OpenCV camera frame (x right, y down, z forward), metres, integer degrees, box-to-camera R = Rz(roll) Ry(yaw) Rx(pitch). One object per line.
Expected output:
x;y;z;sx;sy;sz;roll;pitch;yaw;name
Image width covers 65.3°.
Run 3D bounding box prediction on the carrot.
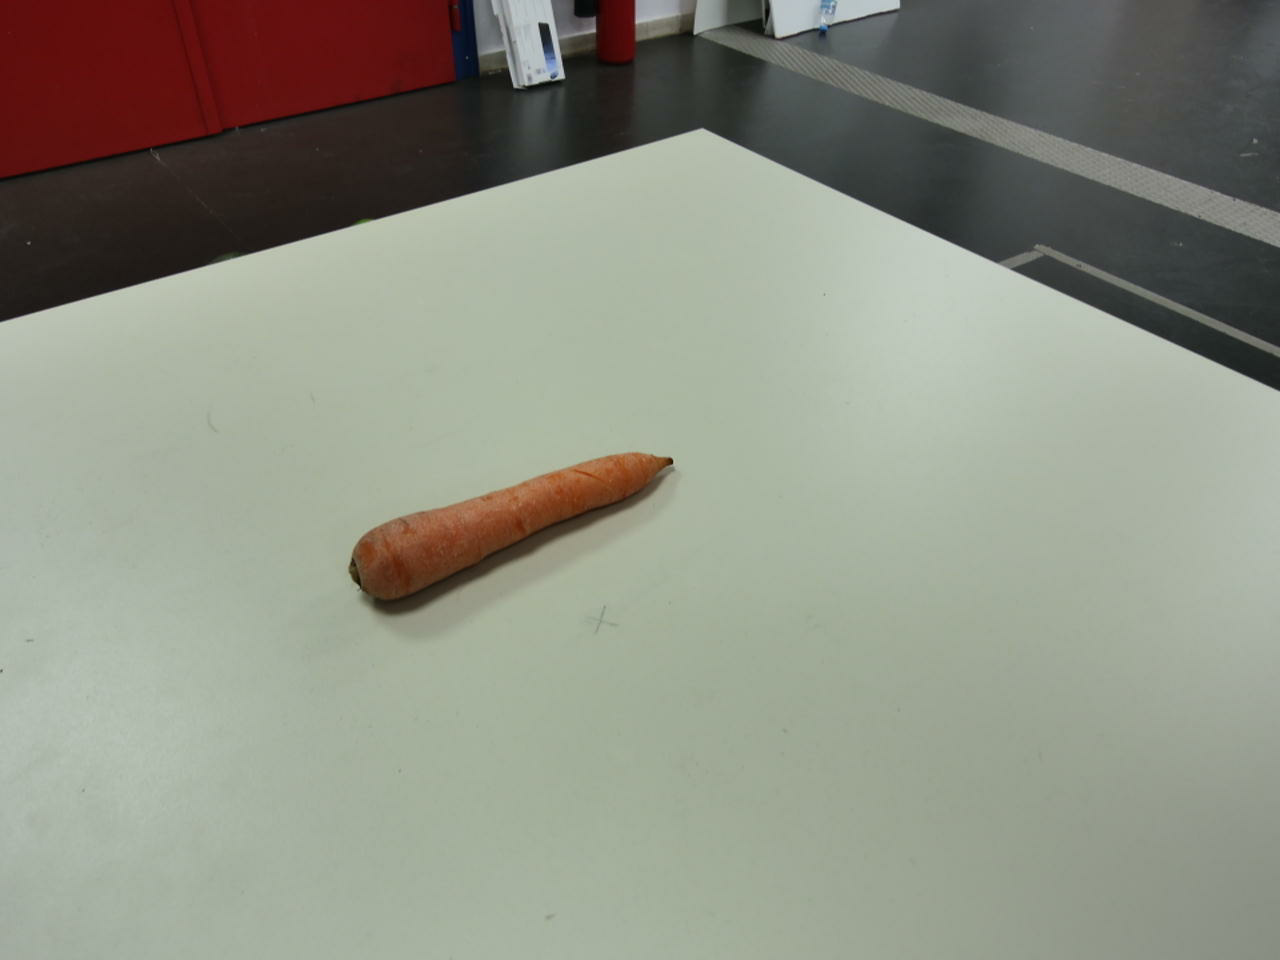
-0.062;0.013;0.535;0.196;0.041;0.039;-25;45;-29;carrot
